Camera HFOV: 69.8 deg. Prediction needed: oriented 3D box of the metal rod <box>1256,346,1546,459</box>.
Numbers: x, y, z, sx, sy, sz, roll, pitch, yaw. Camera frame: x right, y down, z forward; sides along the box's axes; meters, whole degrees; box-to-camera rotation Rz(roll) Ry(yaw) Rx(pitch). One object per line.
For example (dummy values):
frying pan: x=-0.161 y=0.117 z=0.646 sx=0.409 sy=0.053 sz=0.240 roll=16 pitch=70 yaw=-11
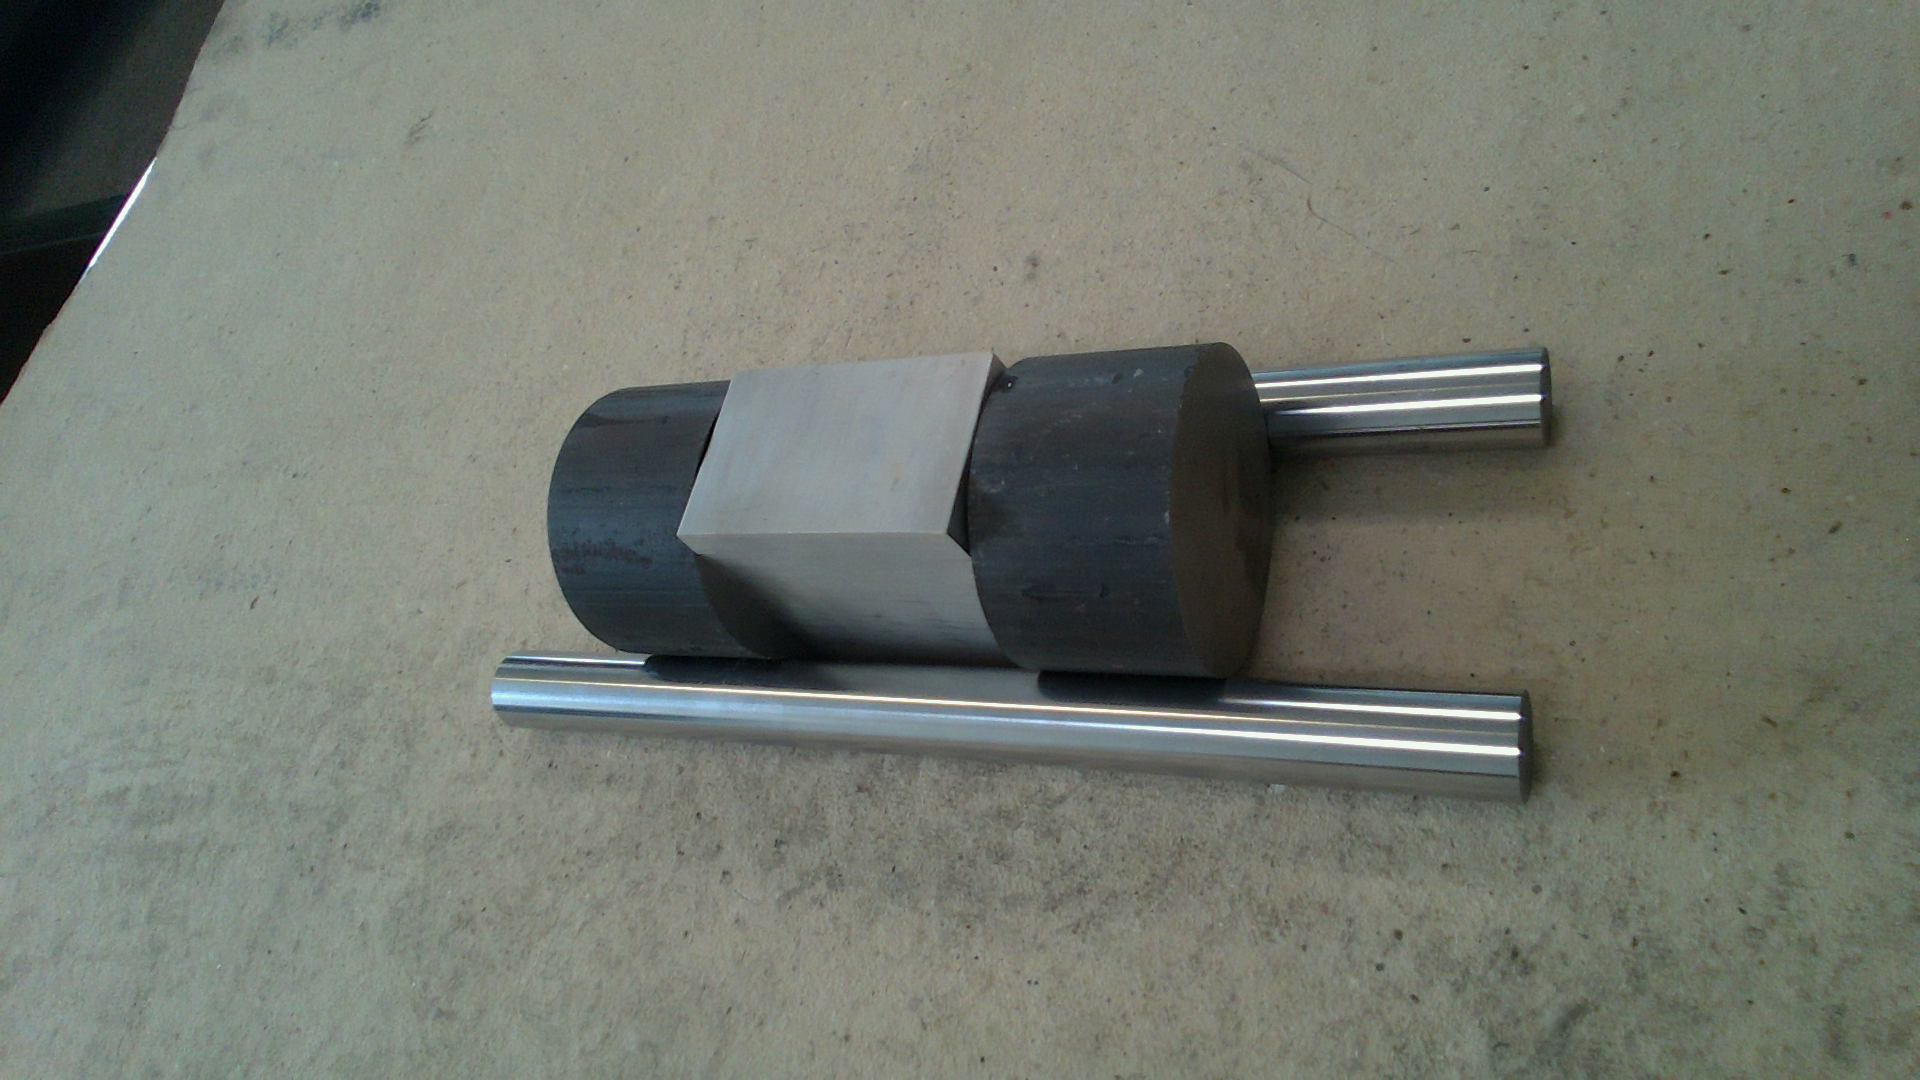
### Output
metal rod: x=0.012 y=-0.034 z=0.409 sx=0.299 sy=0.025 sz=0.025 roll=-1 pitch=61 yaw=28

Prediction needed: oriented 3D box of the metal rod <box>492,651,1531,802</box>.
metal rod: x=-0.009 y=0.046 z=0.370 sx=0.299 sy=0.025 sz=0.025 roll=-1 pitch=61 yaw=28

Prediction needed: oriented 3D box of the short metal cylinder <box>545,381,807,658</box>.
short metal cylinder: x=-0.073 y=-0.006 z=0.401 sx=0.050 sy=0.080 sz=0.080 roll=-1 pitch=61 yaw=28

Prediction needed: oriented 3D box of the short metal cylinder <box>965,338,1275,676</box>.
short metal cylinder: x=0.042 y=-0.007 z=0.339 sx=0.050 sy=0.080 sz=0.080 roll=-1 pitch=61 yaw=28

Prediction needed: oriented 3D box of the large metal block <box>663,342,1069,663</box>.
large metal block: x=-0.017 y=-0.006 z=0.368 sx=0.080 sy=0.080 sz=0.050 roll=0 pitch=62 yaw=28
